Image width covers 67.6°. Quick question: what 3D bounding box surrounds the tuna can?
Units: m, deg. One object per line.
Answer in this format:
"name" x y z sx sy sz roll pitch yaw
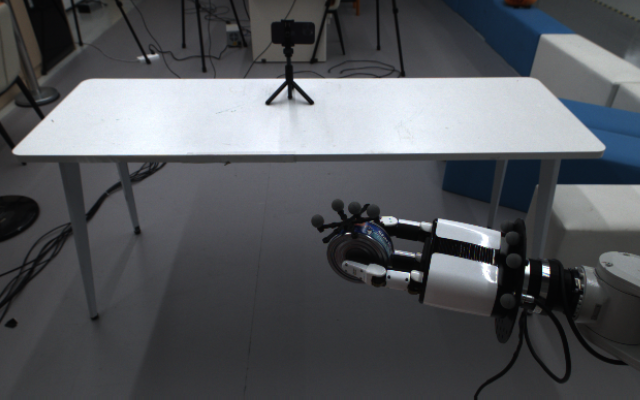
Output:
"tuna can" 0.057 0.076 0.647 0.085 0.085 0.034 11 34 13
